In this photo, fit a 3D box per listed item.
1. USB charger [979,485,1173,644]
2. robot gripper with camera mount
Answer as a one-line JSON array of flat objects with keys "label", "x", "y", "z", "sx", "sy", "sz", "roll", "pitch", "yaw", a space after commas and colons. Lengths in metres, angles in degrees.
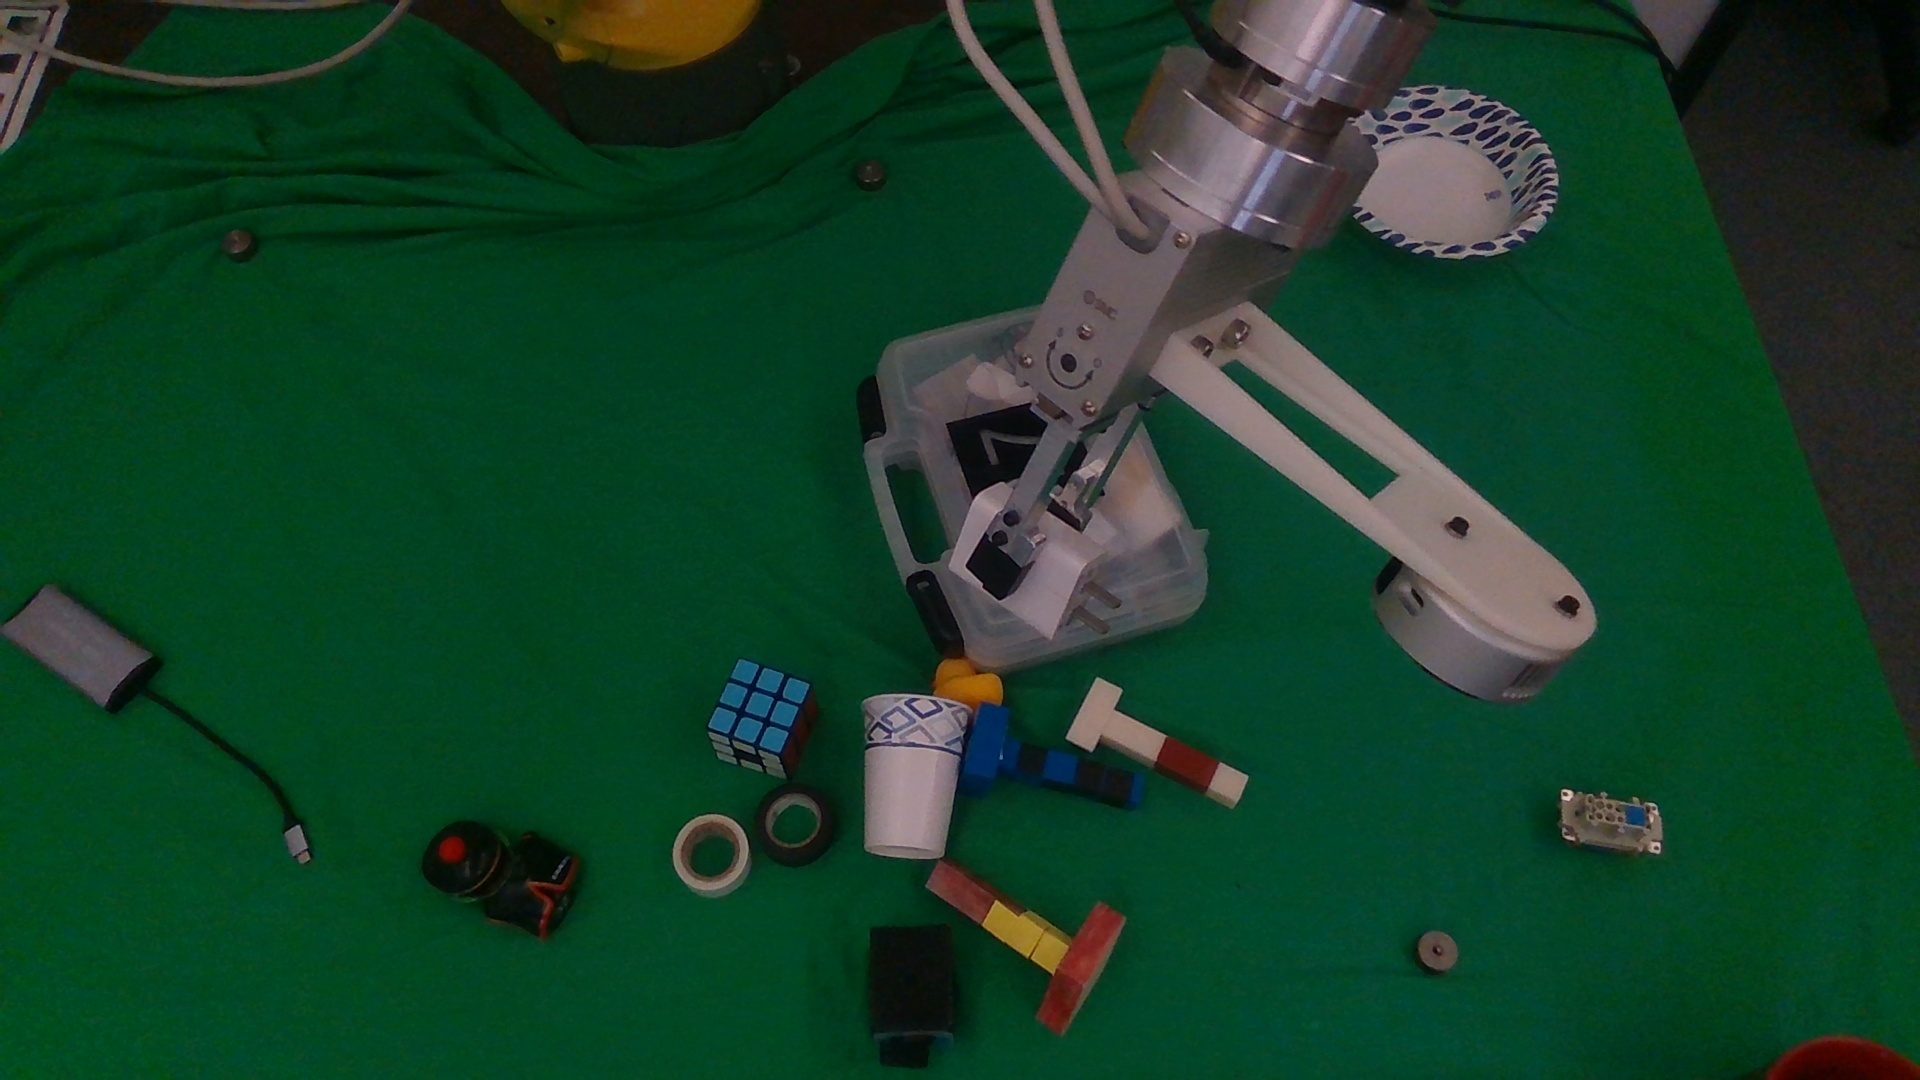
[{"label": "USB charger", "x": 0.044, "y": 0.013, "z": 0.525, "sx": 0.076, "sy": 0.044, "sz": 0.029, "roll": 27, "pitch": 41, "yaw": 22}, {"label": "robot gripper with camera mount", "x": 0.107, "y": -0.001, "z": 0.465, "sx": 0.194, "sy": 0.159, "sz": 0.118, "roll": 40, "pitch": 40, "yaw": 22}]
